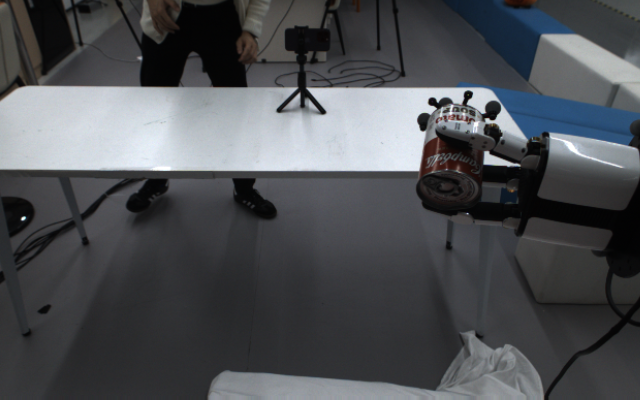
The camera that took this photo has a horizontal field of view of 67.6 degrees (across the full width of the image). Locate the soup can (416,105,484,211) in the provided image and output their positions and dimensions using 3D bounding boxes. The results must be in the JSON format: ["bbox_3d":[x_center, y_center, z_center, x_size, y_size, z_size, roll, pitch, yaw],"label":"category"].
[{"bbox_3d":[0.148,-0.050,0.538,0.067,0.067,0.101,9,56,10],"label":"soup can"}]
